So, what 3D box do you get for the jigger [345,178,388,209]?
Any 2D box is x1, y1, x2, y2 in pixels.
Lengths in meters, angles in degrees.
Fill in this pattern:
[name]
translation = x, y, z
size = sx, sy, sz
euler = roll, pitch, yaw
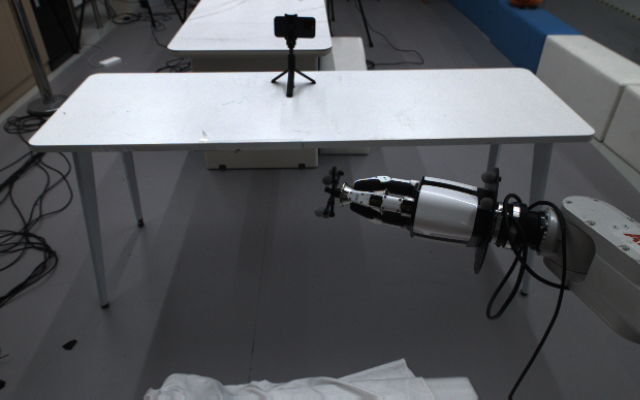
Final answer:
[jigger]
translation = 0.075, -0.007, 0.759
size = 0.071, 0.043, 0.043
euler = 10, 35, 16
